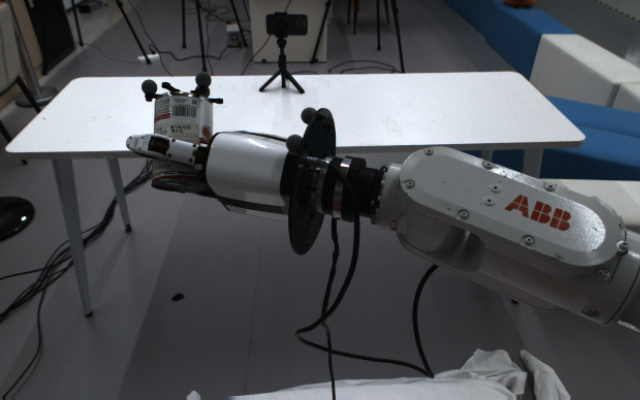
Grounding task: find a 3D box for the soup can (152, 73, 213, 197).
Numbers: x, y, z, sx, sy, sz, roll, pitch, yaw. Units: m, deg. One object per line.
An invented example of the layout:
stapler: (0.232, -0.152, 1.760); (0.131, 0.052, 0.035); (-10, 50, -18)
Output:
soup can: (-0.156, -0.063, 0.556); (0.067, 0.101, 0.067); (-2, -9, 0)
